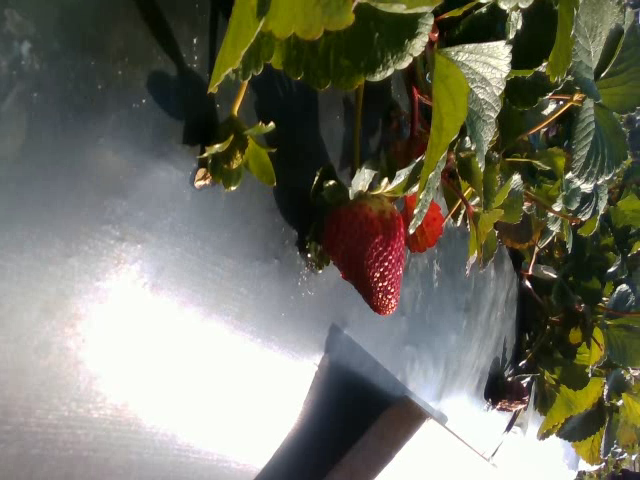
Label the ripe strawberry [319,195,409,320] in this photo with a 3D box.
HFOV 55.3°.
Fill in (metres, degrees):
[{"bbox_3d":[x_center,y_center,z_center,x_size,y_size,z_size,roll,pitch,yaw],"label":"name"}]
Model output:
[{"bbox_3d":[0.020,0.008,0.237,0.040,0.056,0.040,-19,2,-32],"label":"ripe strawberry"}]
